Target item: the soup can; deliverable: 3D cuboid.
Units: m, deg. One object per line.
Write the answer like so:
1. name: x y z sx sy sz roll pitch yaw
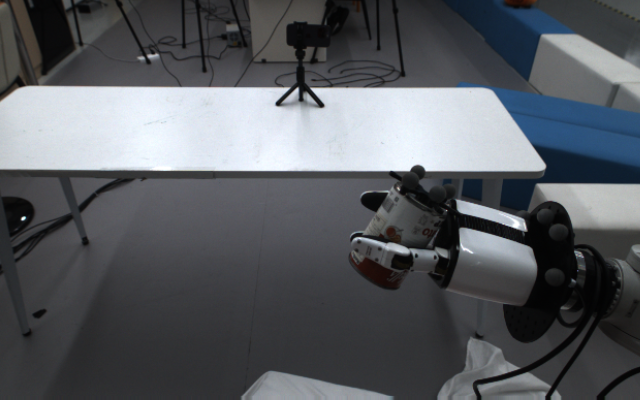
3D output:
1. soup can: 0.087 0.039 0.535 0.067 0.101 0.067 27 18 -9
